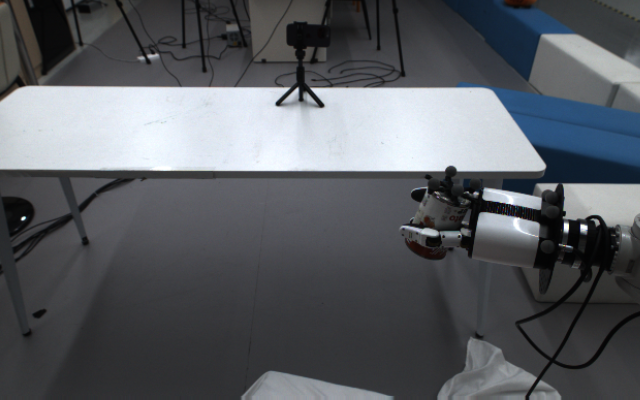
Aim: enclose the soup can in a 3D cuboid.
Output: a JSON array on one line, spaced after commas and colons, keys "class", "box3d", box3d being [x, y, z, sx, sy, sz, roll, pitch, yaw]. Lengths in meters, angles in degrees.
[{"class": "soup can", "box3d": [0.178, 0.030, 0.730, 0.067, 0.101, 0.067, 13, 30, -8]}]
